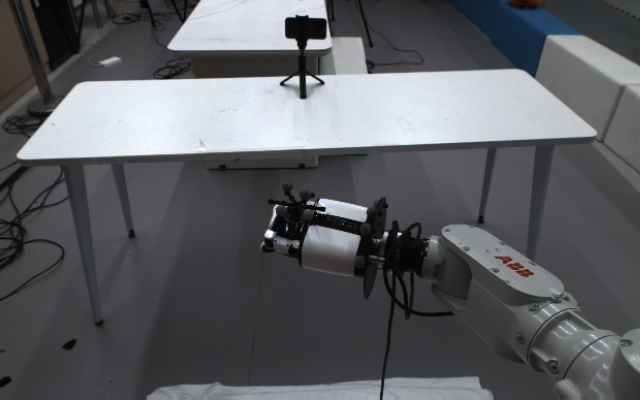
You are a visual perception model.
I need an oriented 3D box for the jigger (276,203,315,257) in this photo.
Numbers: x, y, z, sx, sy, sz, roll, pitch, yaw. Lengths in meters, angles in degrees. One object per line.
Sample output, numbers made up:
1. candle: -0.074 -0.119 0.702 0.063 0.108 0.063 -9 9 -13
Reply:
1. jigger: -0.040 0.051 0.769 0.043 0.071 0.043 6 32 -4
